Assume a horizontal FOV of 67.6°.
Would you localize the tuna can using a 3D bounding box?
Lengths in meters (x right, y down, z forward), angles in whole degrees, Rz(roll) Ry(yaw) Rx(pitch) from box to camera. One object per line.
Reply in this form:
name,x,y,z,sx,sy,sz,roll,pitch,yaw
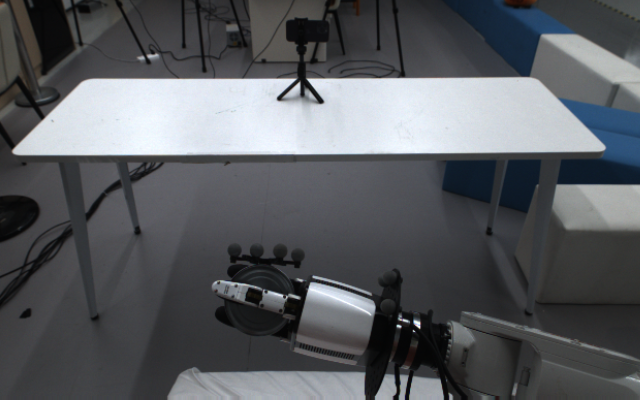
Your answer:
tuna can,-0.070,0.123,0.593,0.085,0.034,0.085,0,76,0
